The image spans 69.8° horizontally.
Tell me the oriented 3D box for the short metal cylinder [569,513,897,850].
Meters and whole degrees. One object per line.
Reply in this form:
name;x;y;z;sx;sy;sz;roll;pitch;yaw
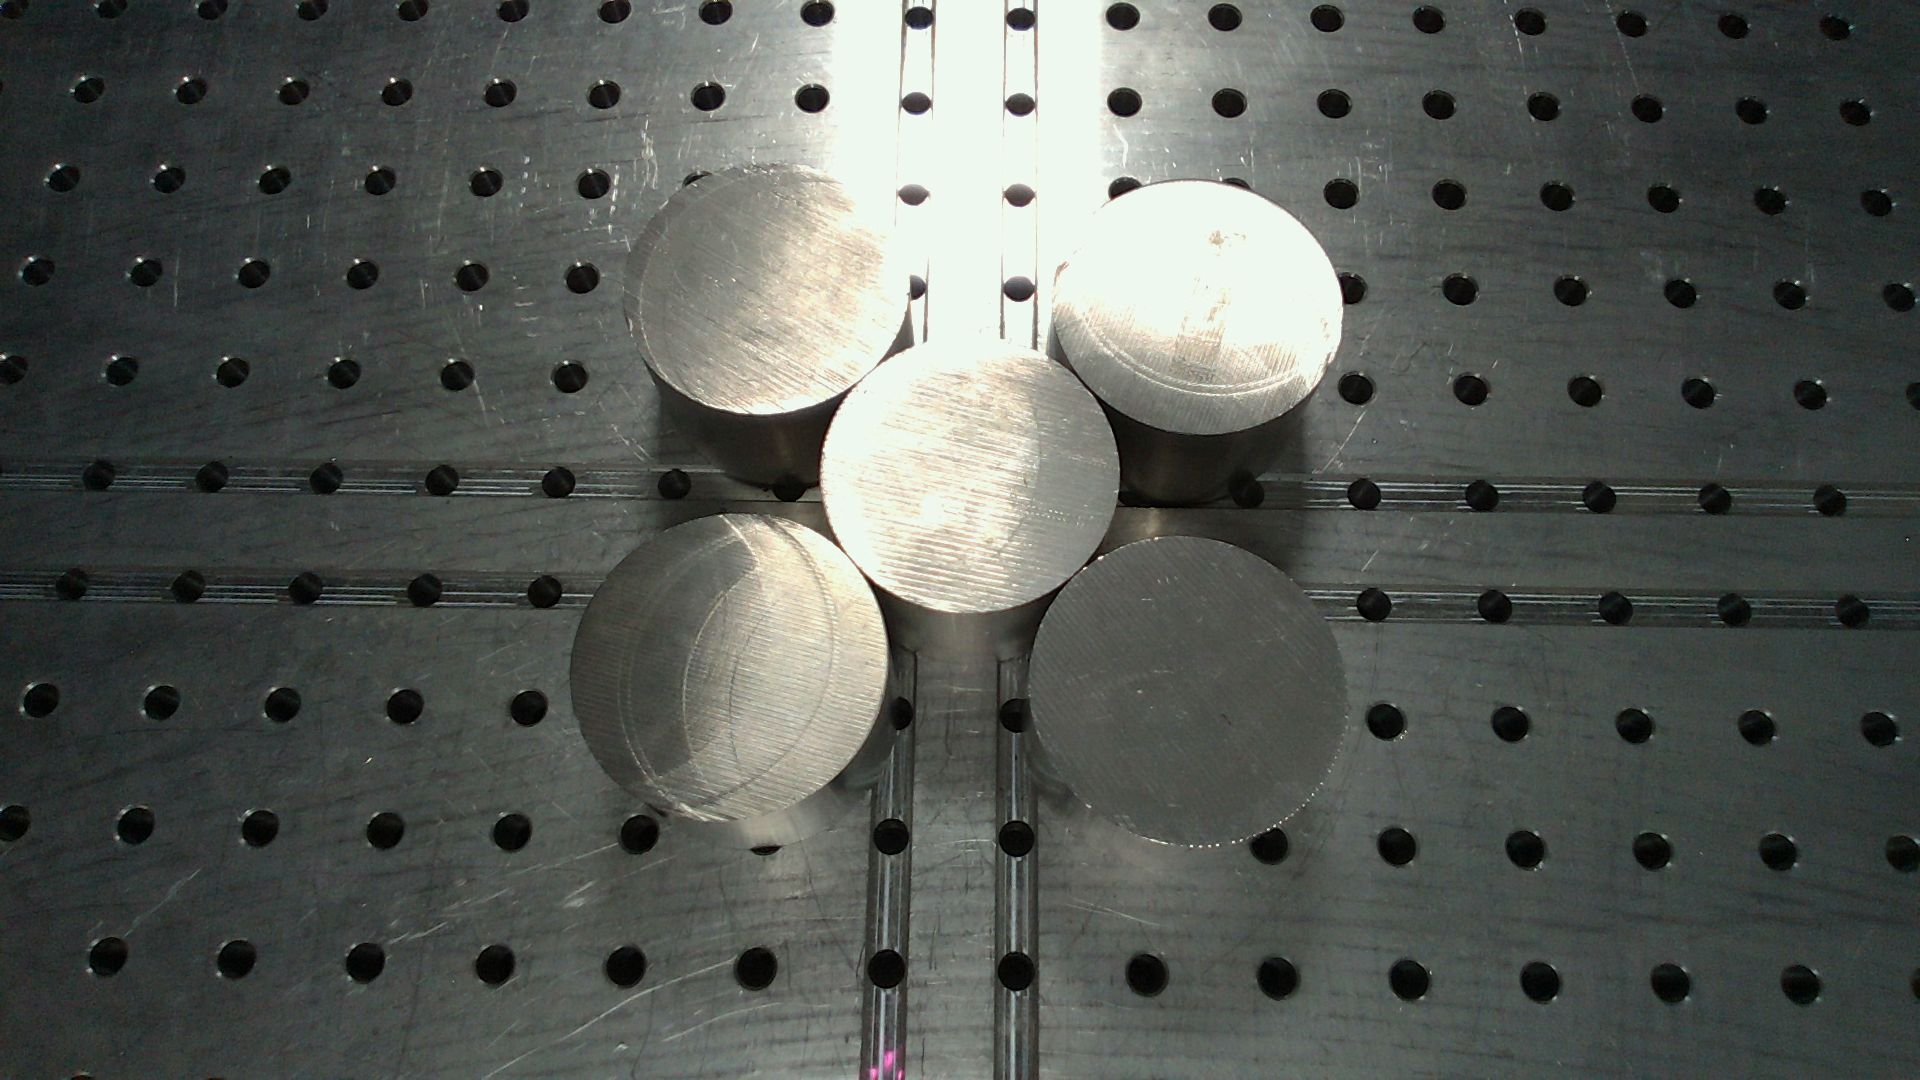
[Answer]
short metal cylinder;-0.058;0.039;0.368;0.080;0.050;0.080;0;70;0

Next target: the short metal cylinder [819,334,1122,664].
short metal cylinder;0.003;-0.010;0.387;0.080;0.050;0.080;0;70;0

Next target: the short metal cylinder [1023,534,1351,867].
short metal cylinder;0.058;0.045;0.367;0.080;0.050;0.080;0;70;0

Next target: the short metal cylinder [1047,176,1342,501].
short metal cylinder;0.065;-0.058;0.403;0.080;0.050;0.080;0;70;0

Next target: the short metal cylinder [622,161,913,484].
short metal cylinder;-0.054;-0.063;0.406;0.080;0.050;0.080;0;70;0
